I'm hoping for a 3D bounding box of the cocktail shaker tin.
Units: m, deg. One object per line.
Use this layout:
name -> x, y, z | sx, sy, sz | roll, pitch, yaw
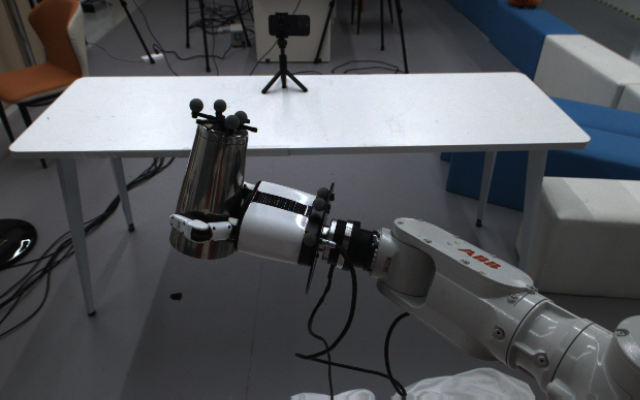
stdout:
cocktail shaker tin -> -0.145, -0.017, 0.654 | 0.093, 0.170, 0.093 | 13, 20, -5
